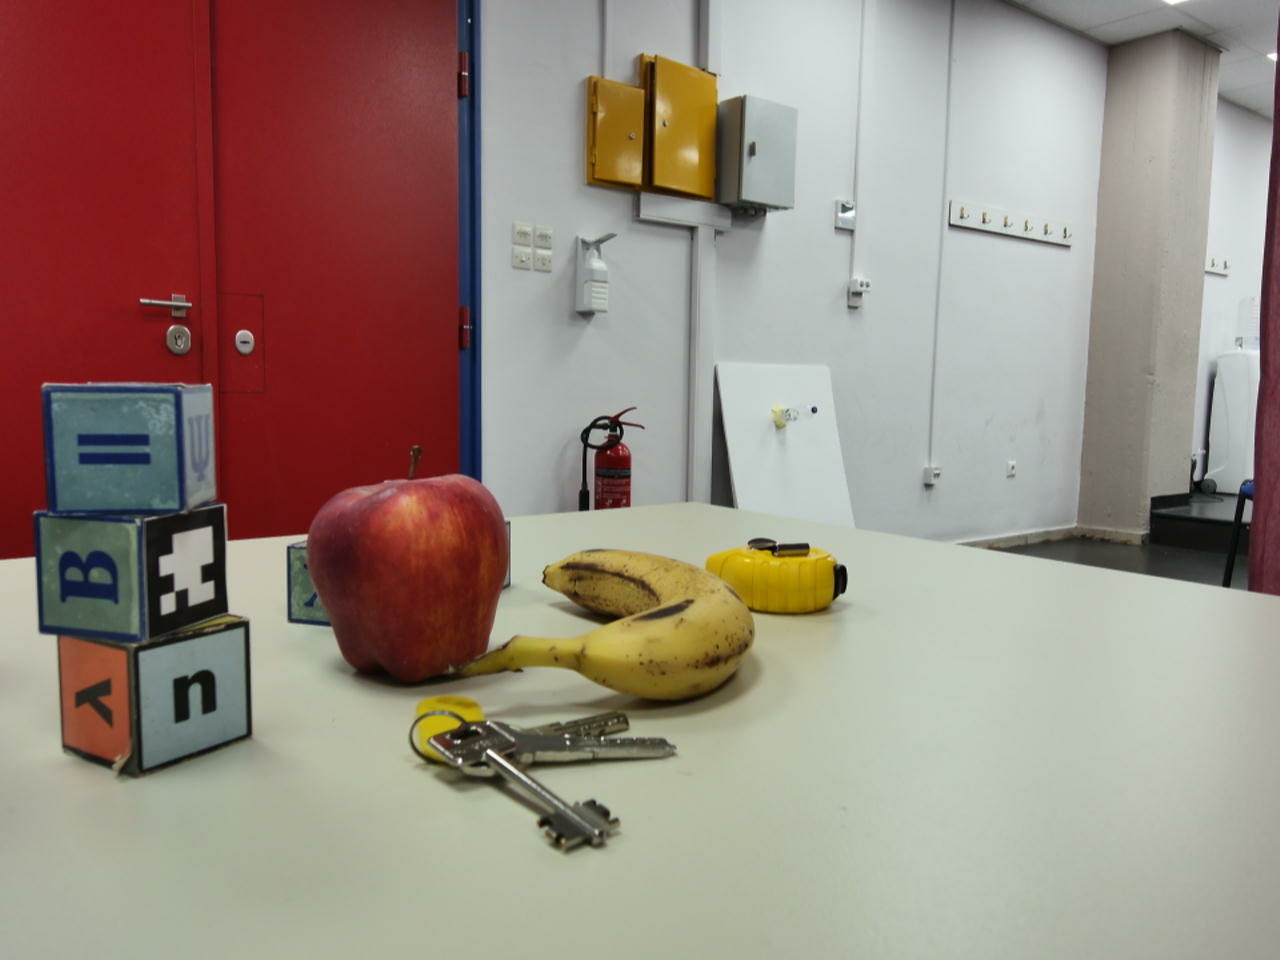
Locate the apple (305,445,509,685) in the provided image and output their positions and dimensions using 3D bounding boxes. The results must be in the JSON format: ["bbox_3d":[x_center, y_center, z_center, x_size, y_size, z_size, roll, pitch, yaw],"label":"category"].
[{"bbox_3d":[-0.092,0.032,0.401,0.083,0.090,0.083,0,4,0],"label":"apple"}]
